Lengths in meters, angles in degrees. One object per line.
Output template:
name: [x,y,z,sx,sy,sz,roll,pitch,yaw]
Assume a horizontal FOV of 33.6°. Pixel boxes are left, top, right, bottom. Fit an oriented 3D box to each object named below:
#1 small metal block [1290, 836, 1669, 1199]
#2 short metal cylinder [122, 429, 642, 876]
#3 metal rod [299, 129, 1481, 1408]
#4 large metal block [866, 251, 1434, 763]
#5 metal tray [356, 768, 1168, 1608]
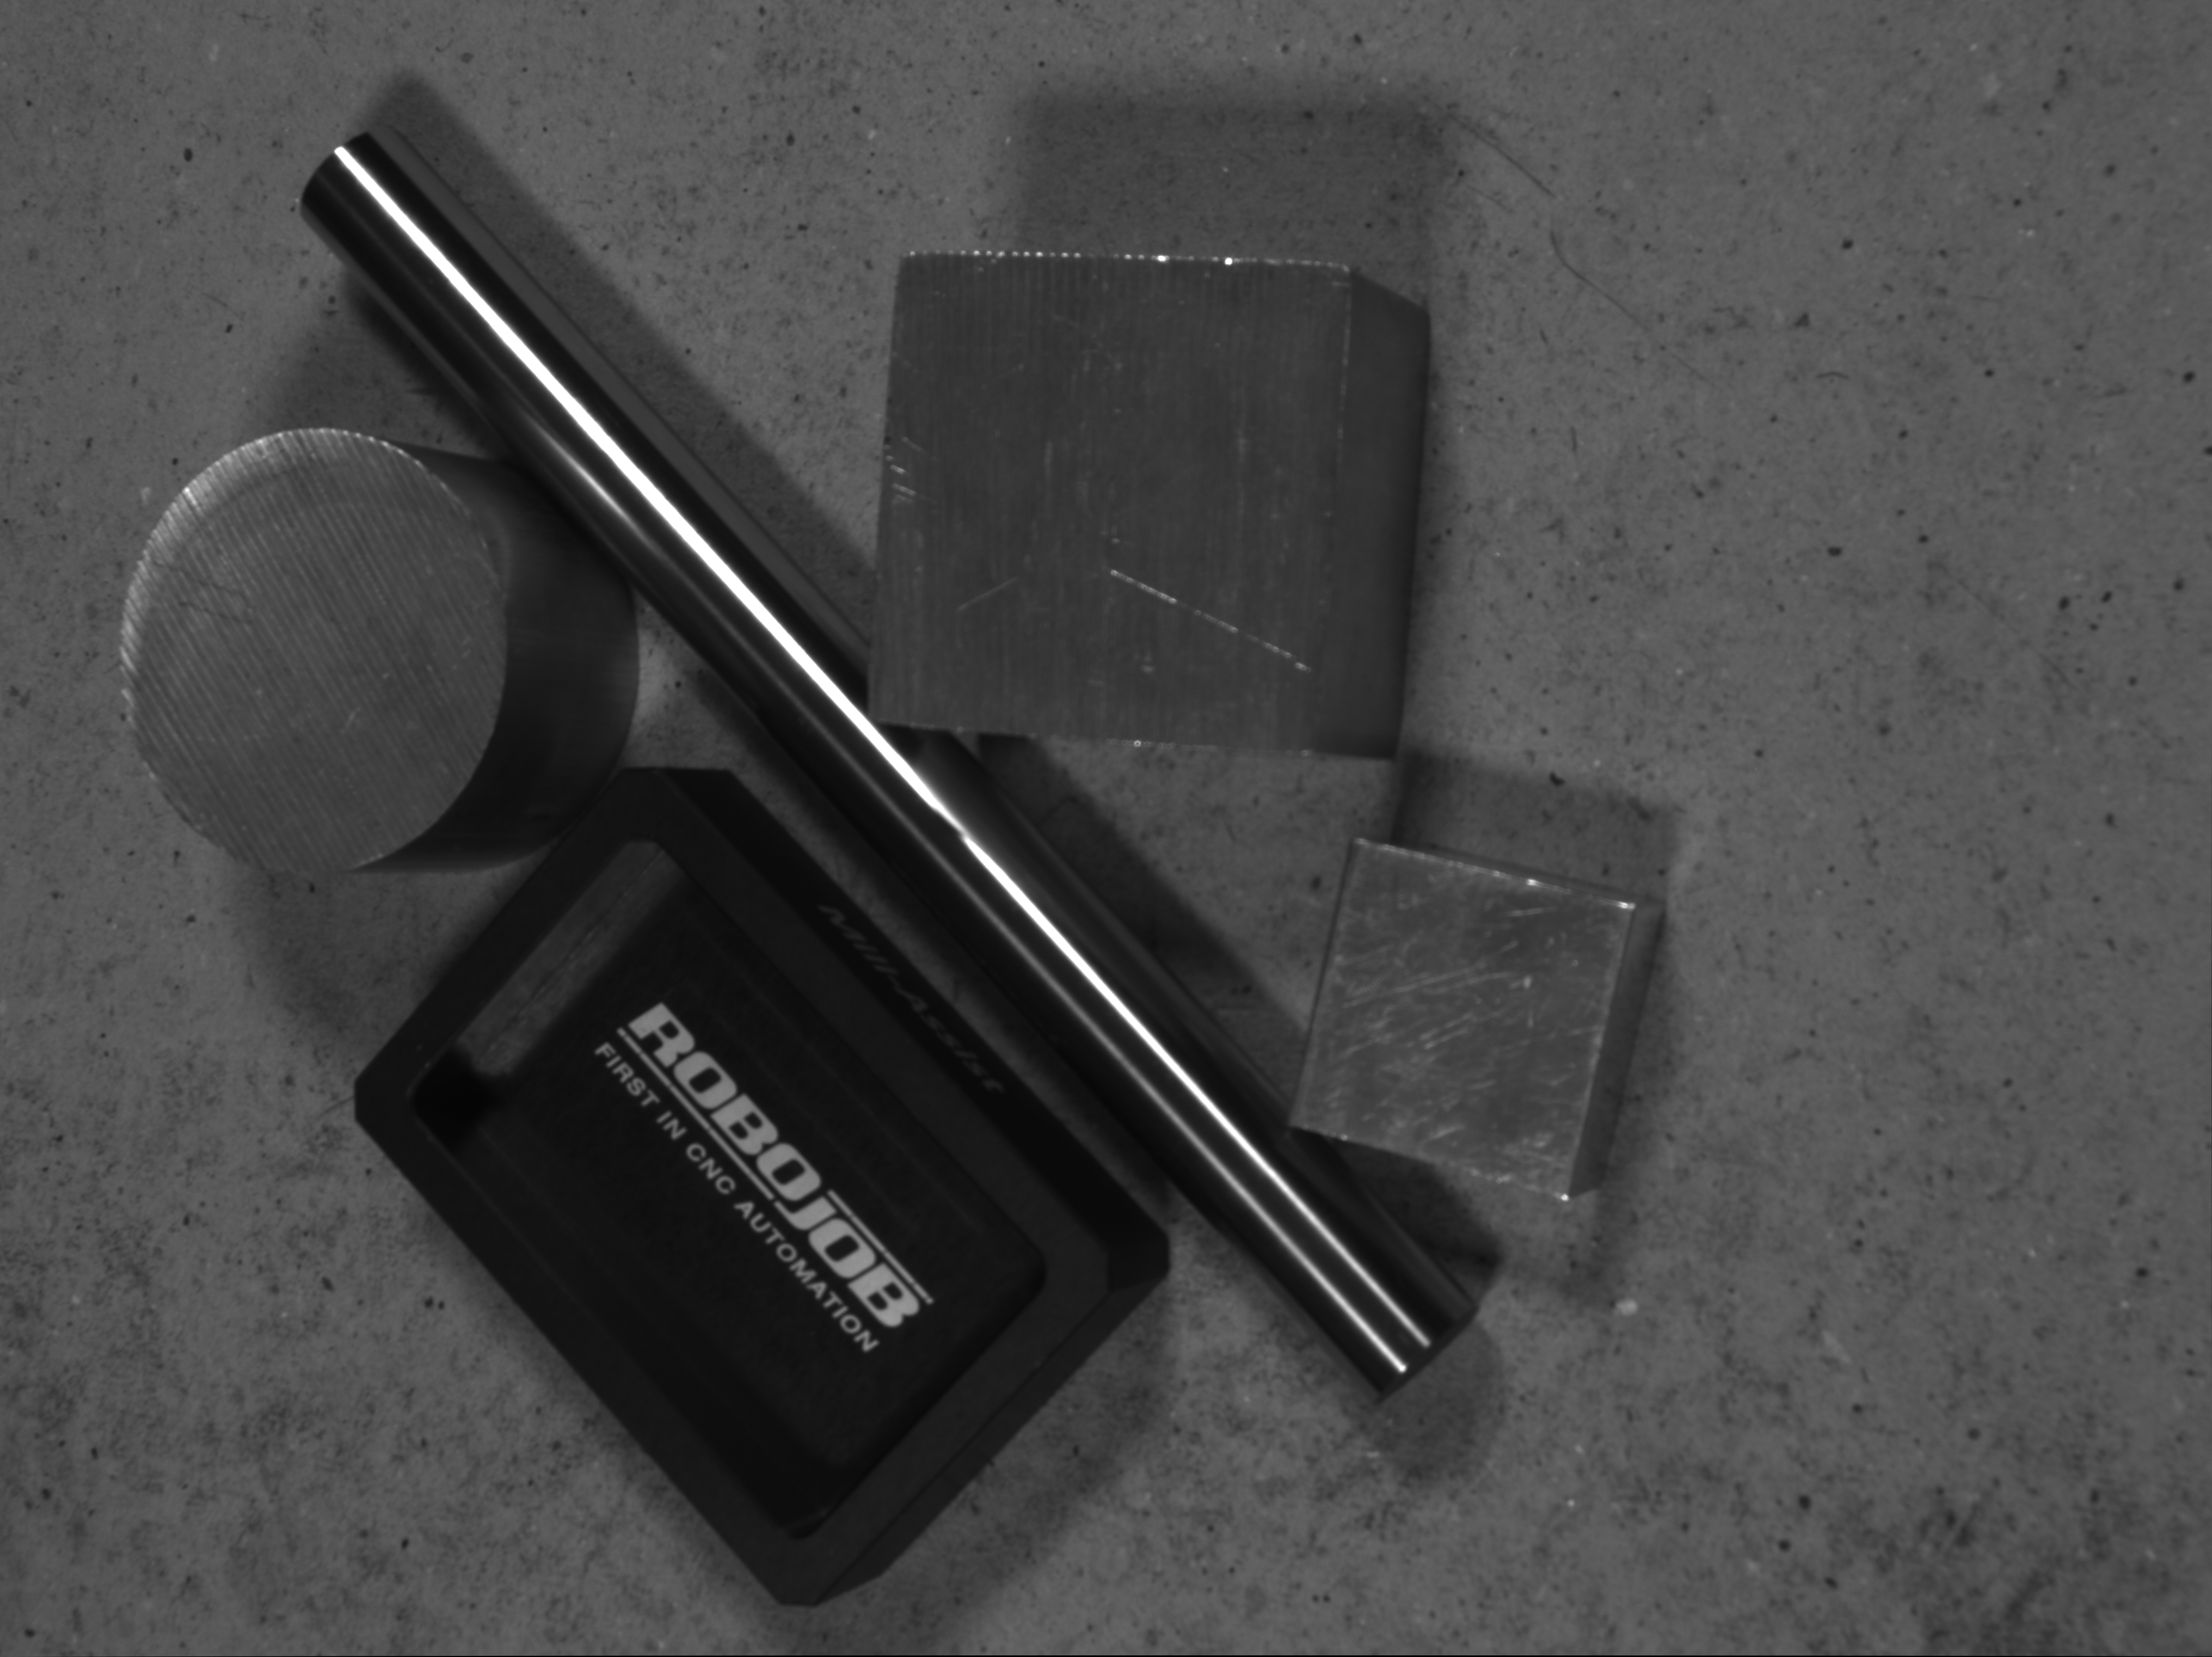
small metal block: [0.064,0.031,0.622,0.050,0.025,0.050,14,94,19]
short metal cylinder: [-0.133,-0.031,0.679,0.080,0.050,0.080,0,90,20]
metal rod: [-0.044,-0.016,0.660,0.025,0.025,0.300,-46,76,14]
large metal block: [0.008,-0.054,0.628,0.080,0.050,0.080,5,91,20]
metal tray: [-0.064,0.063,0.664,0.130,0.030,0.090,46,104,14]
